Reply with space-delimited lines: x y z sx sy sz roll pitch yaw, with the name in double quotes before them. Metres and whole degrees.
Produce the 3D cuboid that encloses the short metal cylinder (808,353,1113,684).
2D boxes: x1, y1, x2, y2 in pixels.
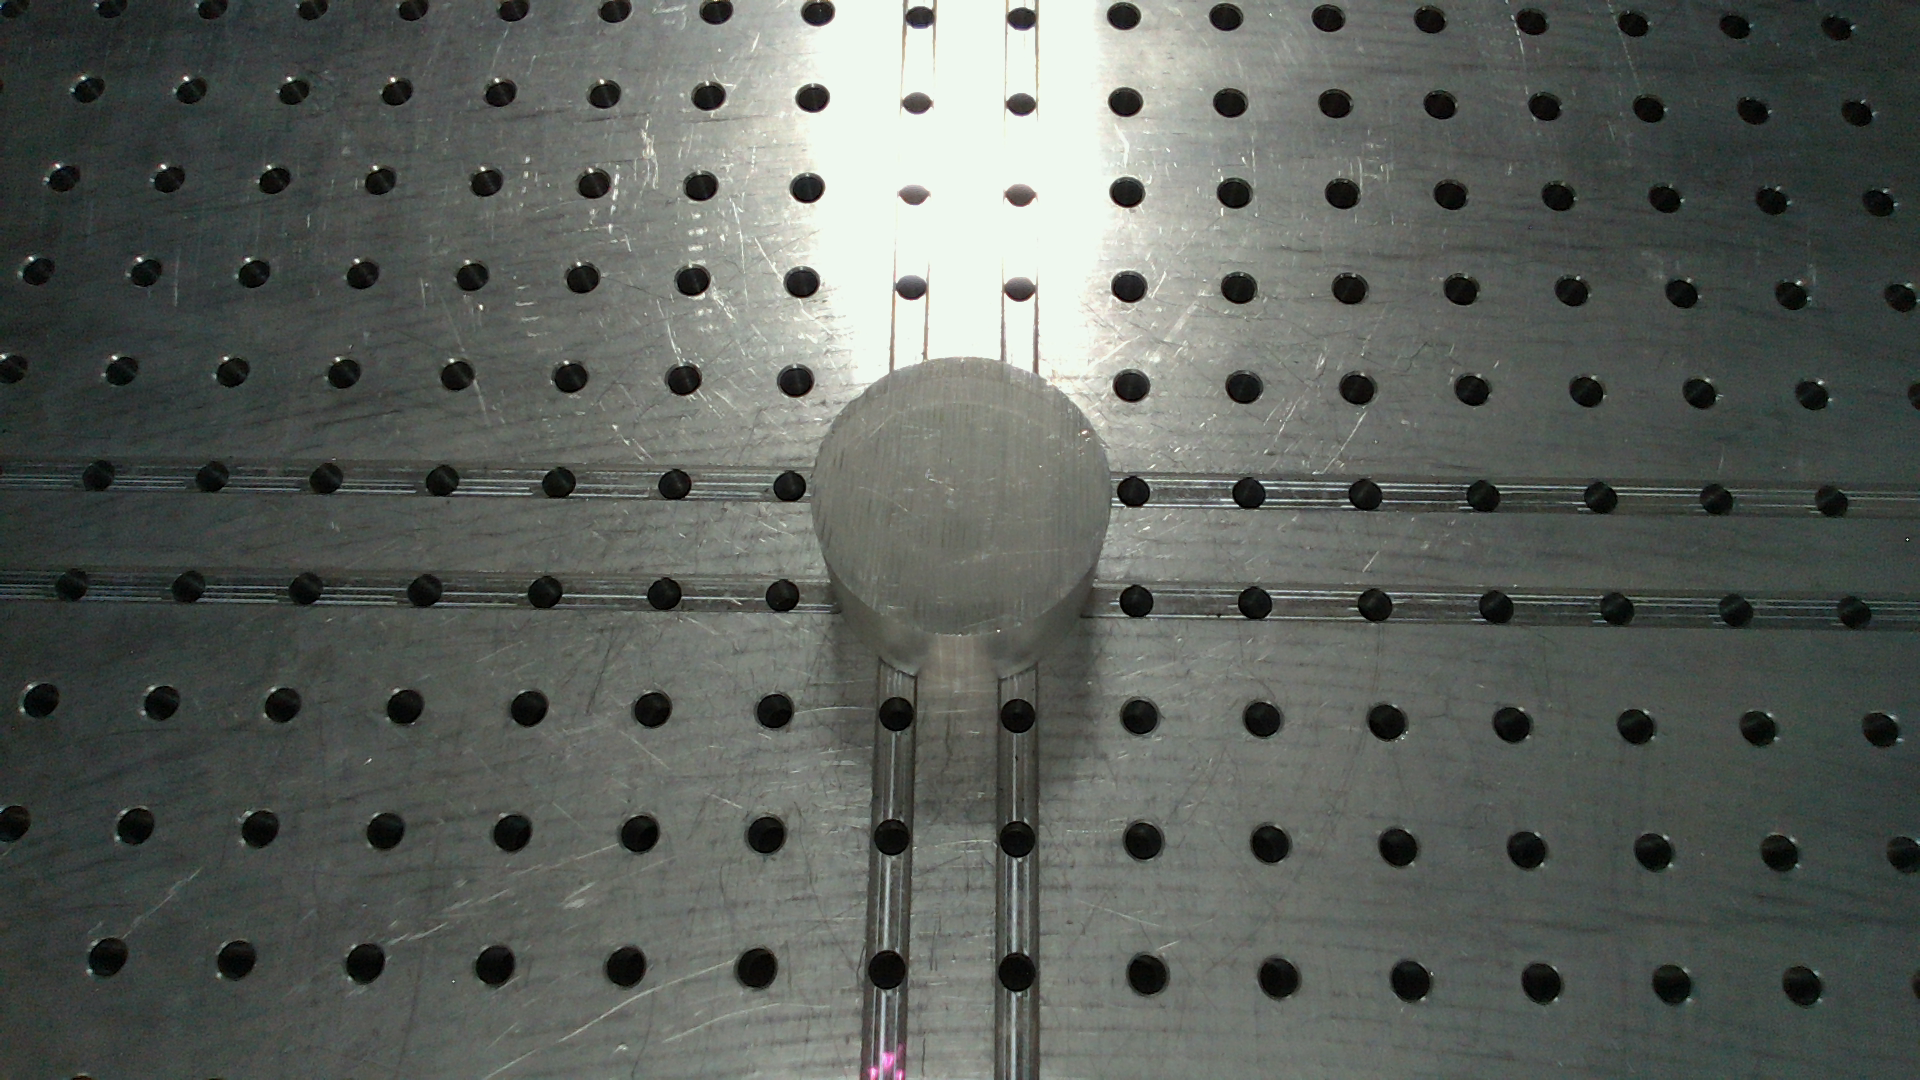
"short metal cylinder" 0.000 -0.005 0.385 0.080 0.050 0.080 0 70 0
